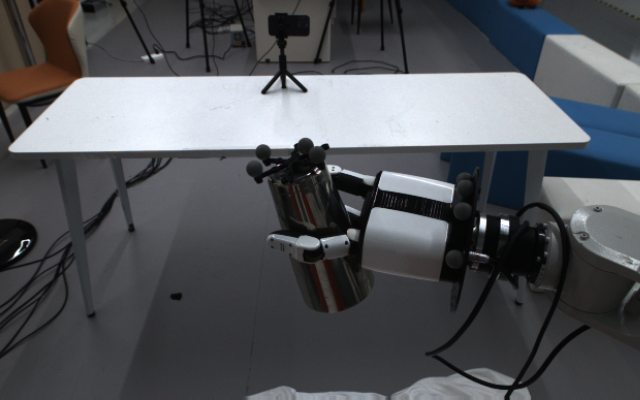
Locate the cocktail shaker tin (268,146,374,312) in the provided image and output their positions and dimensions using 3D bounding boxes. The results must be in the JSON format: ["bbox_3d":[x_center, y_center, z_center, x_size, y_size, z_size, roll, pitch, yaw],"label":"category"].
[{"bbox_3d":[-0.001,0.037,0.561,0.093,0.170,0.093,-15,28,8],"label":"cocktail shaker tin"}]
